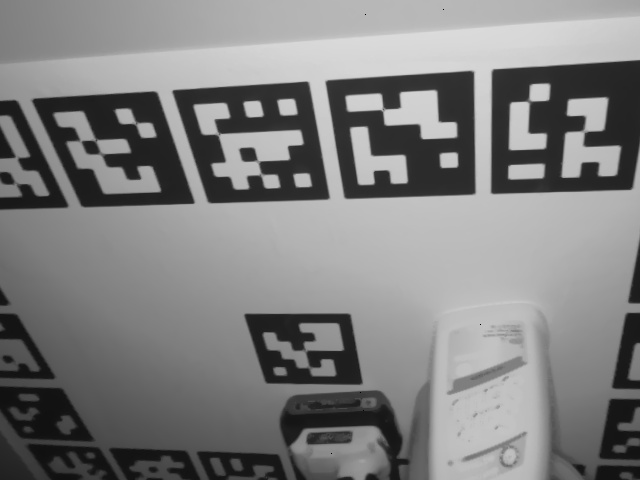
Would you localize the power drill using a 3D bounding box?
[{"bbox_3d":[-0.014,0.234,0.617,0.183,0.189,0.057,-5,122,19],"label":"power drill"}]

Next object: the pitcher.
[{"bbox_3d":[0.145,0.215,0.568,0.186,0.245,0.133,-28,115,25],"label":"pitcher"}]

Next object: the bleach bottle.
[{"bbox_3d":[0.136,0.144,0.494,0.102,0.253,0.067,-10,123,15],"label":"bleach bottle"}]
